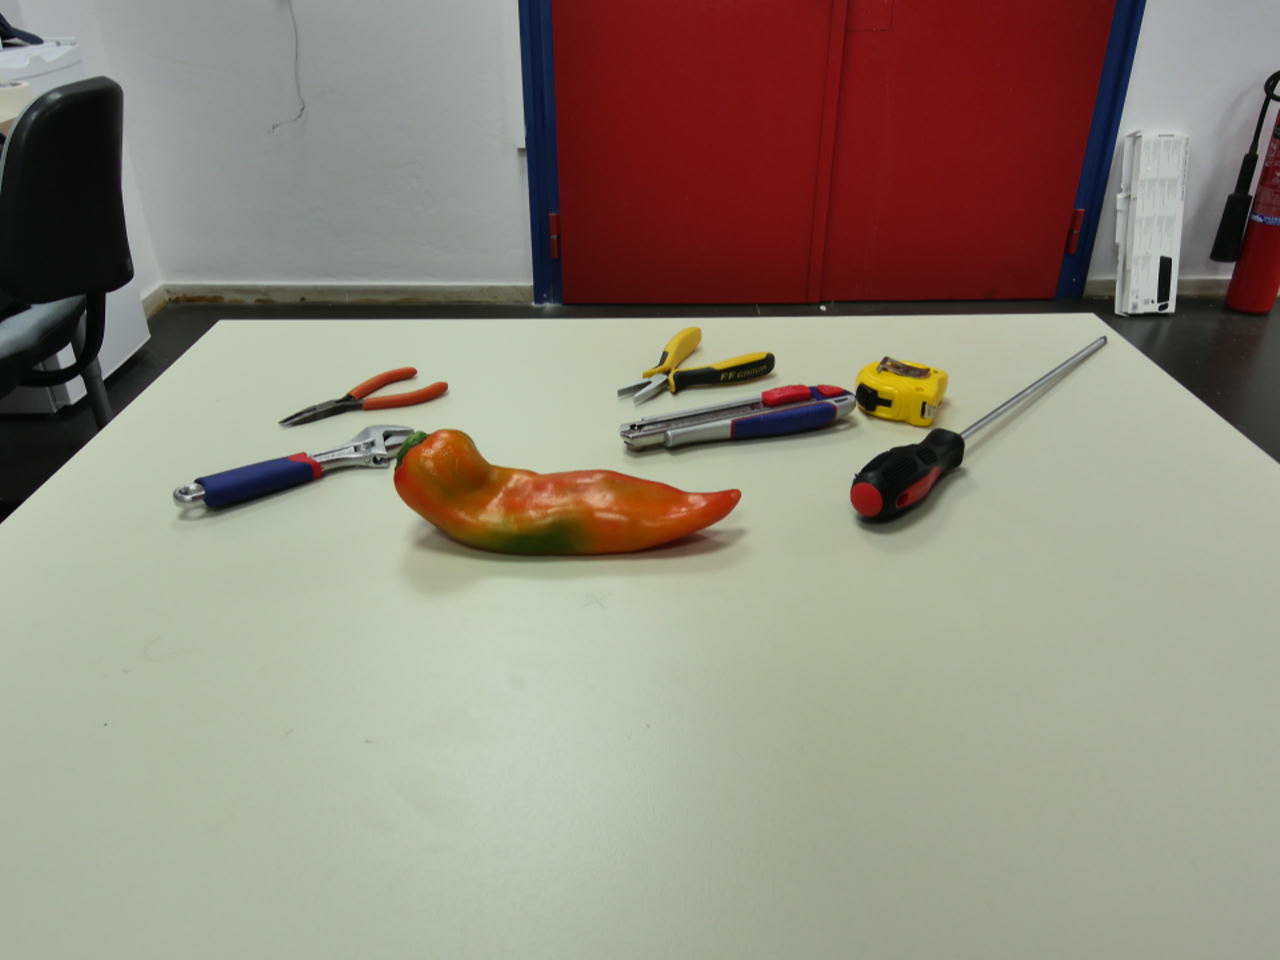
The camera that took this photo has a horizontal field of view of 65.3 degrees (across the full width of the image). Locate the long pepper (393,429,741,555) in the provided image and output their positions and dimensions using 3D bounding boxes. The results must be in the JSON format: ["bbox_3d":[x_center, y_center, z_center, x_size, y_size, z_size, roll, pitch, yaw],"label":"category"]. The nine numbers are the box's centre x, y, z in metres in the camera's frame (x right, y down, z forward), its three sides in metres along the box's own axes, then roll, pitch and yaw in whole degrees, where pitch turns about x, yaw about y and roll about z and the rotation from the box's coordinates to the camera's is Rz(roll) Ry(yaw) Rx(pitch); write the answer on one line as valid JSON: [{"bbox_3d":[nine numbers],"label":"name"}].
[{"bbox_3d":[-0.042,0.004,0.574,0.199,0.065,0.066,2,27,4],"label":"long pepper"}]
